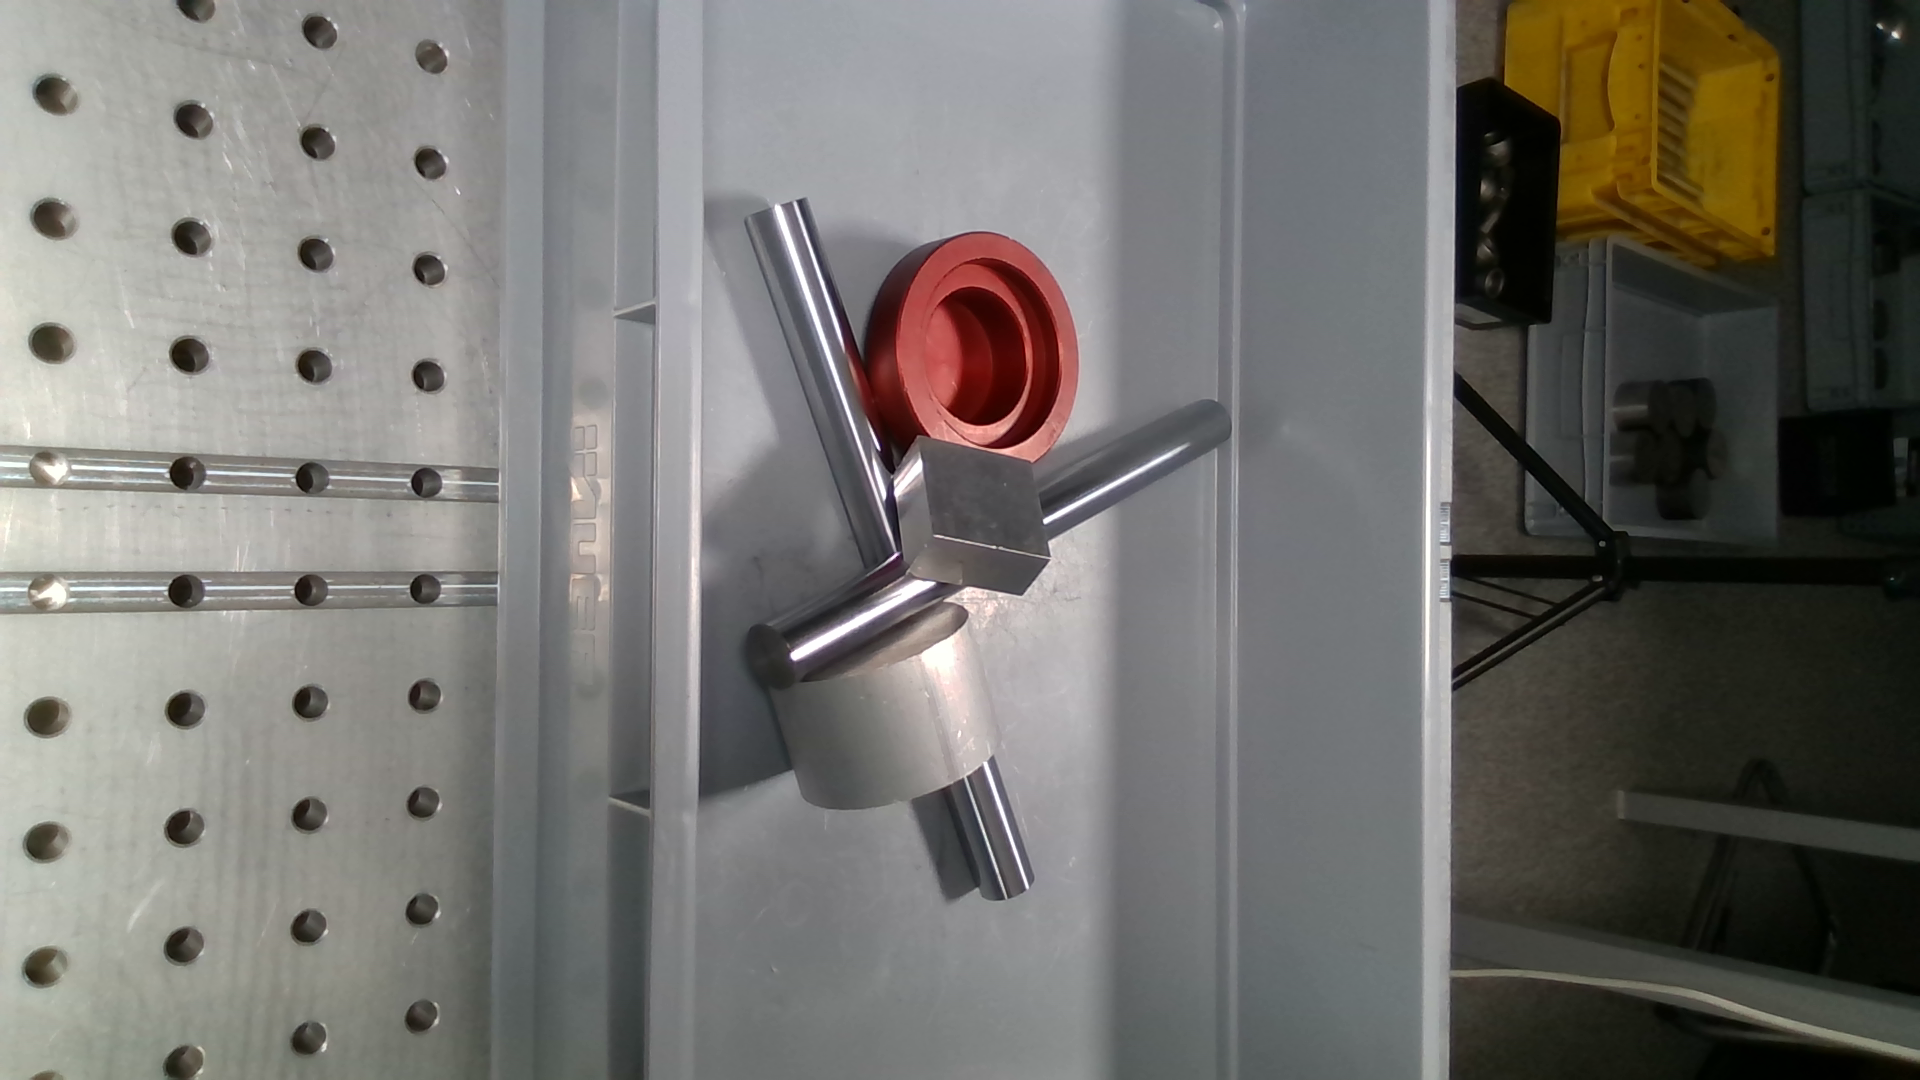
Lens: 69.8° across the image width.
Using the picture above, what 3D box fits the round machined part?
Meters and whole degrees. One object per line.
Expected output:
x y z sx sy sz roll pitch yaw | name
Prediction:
0.000 -0.076 0.571 0.098 0.042 0.098 0 90 -40 | round machined part

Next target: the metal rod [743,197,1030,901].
-0.026 0.012 0.560 0.025 0.025 0.300 -29 108 -36 | metal rod

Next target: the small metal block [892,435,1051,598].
0.004 -0.009 0.531 0.050 0.025 0.050 11 48 -24 | small metal block

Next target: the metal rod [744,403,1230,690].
0.029 -0.008 0.583 0.300 0.025 0.025 -27 107 -44 | metal rod

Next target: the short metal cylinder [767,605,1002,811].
-0.029 0.061 0.521 0.080 0.080 0.050 -25 106 -37 | short metal cylinder
